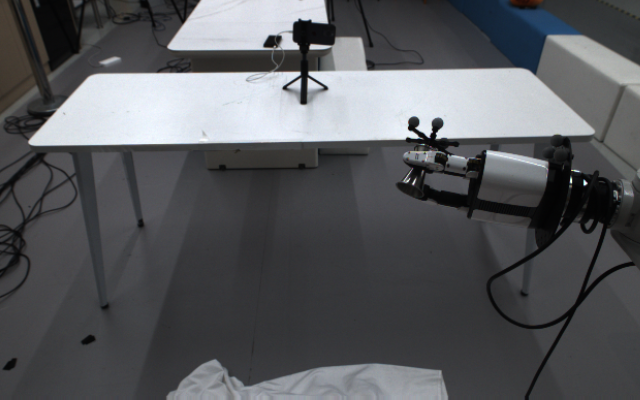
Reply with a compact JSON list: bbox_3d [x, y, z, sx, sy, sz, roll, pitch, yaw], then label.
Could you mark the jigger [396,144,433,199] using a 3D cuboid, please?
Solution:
[{"bbox_3d":[0.144,-0.046,0.712,0.043,0.043,0.071,20,73,24],"label":"jigger"}]
